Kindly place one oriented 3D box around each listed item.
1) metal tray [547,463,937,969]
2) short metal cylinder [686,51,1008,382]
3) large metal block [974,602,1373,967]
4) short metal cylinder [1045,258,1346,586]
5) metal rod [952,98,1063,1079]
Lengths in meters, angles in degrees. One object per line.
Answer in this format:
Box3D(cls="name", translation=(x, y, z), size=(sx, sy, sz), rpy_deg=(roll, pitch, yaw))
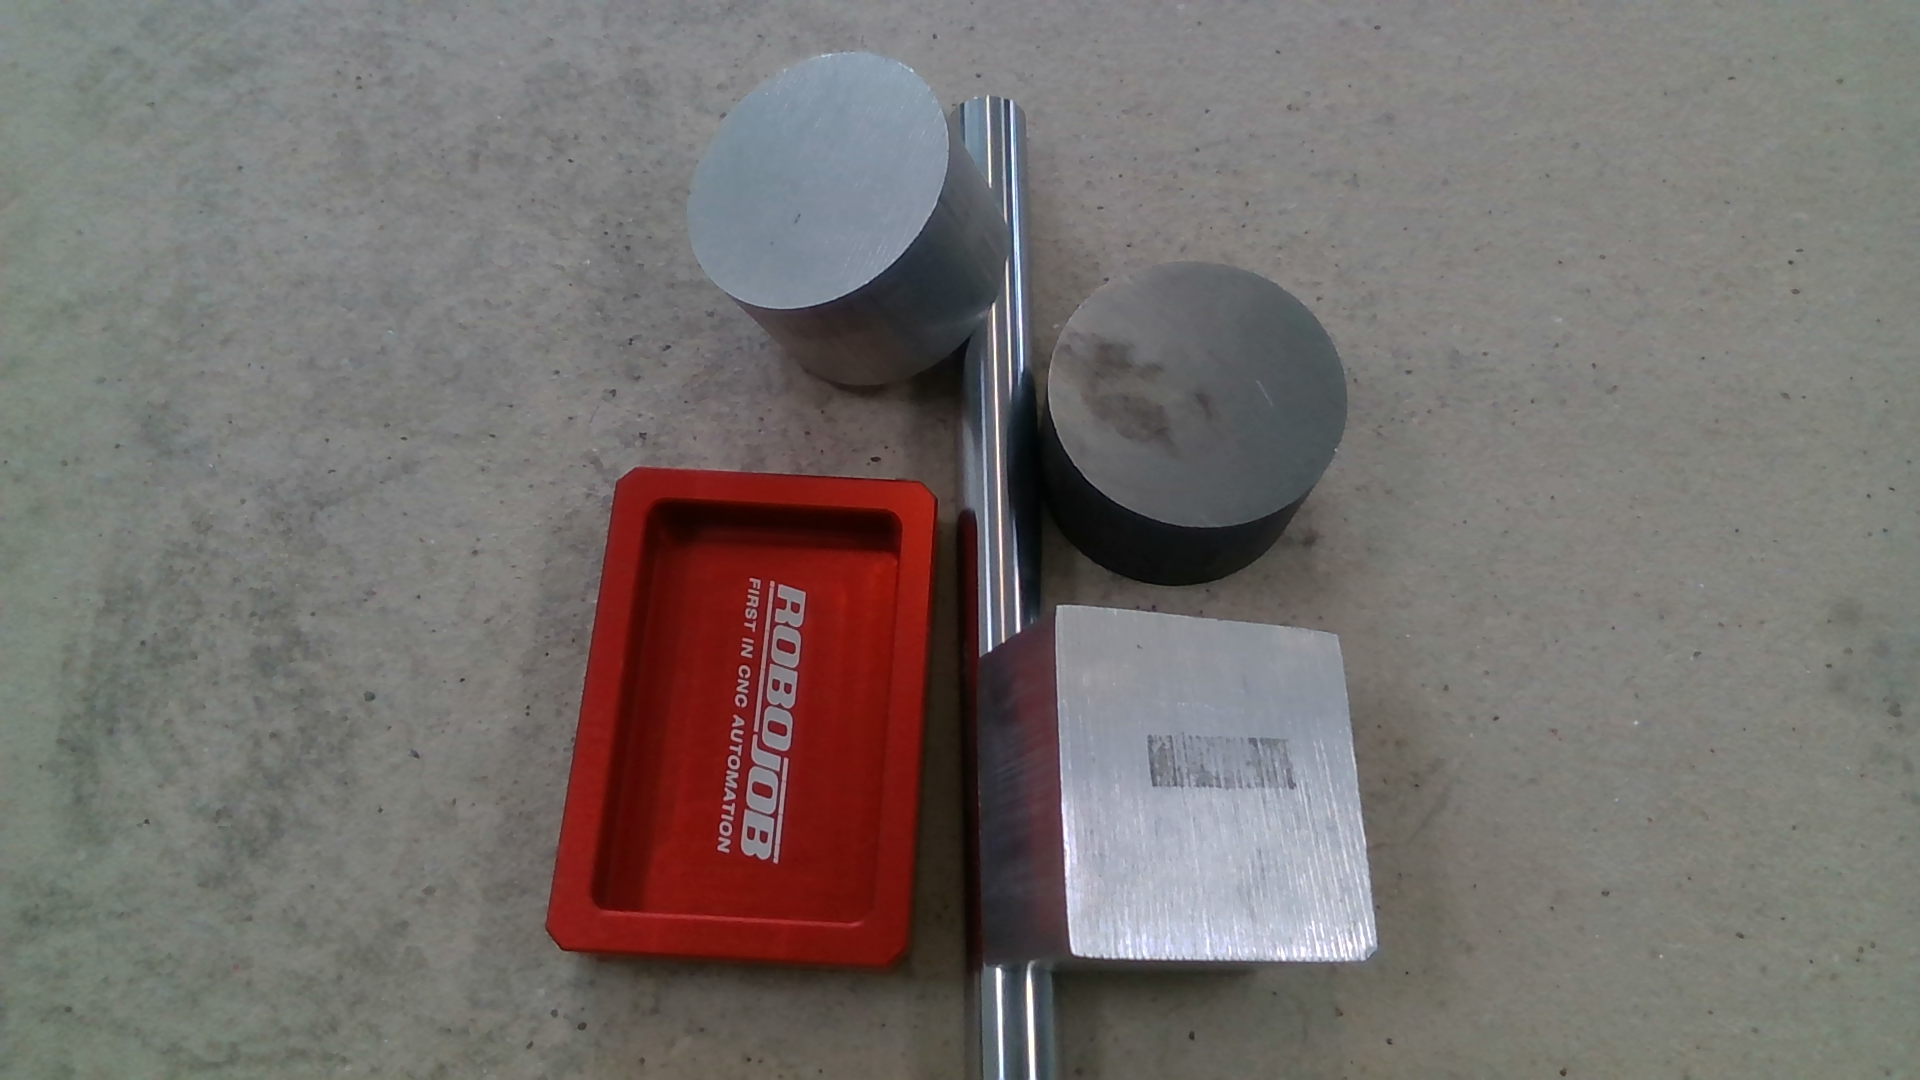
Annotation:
Box3D(cls="metal tray", translation=(-0.055, 0.046, 0.376), size=(0.090, 0.030, 0.130), rpy_deg=(3, 71, 1))
Box3D(cls="short metal cylinder", translation=(-0.032, -0.093, 0.402), size=(0.080, 0.050, 0.080), rpy_deg=(-7, 70, 19))
Box3D(cls="large metal block", translation=(0.051, 0.065, 0.347), size=(0.080, 0.050, 0.080), rpy_deg=(7, 69, -20))
Box3D(cls="short metal cylinder", translation=(0.064, -0.033, 0.394), size=(0.080, 0.050, 0.080), rpy_deg=(0, 70, -1))
Box3D(cls="metal rod", translation=(0.011, 0.006, 0.395), size=(0.025, 0.025, 0.299), rpy_deg=(-1, 71, 0))
